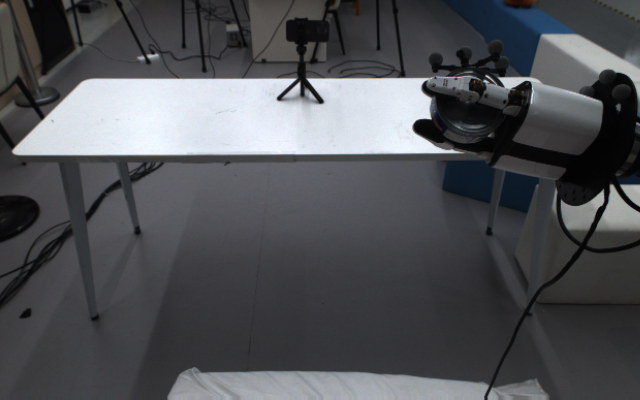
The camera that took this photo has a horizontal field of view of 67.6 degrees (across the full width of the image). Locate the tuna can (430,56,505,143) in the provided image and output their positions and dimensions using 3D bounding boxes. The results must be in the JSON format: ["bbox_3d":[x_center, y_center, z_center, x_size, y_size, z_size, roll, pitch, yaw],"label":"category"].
[{"bbox_3d":[0.178,-0.115,0.578,0.085,0.034,0.085,0,76,1],"label":"tuna can"}]
